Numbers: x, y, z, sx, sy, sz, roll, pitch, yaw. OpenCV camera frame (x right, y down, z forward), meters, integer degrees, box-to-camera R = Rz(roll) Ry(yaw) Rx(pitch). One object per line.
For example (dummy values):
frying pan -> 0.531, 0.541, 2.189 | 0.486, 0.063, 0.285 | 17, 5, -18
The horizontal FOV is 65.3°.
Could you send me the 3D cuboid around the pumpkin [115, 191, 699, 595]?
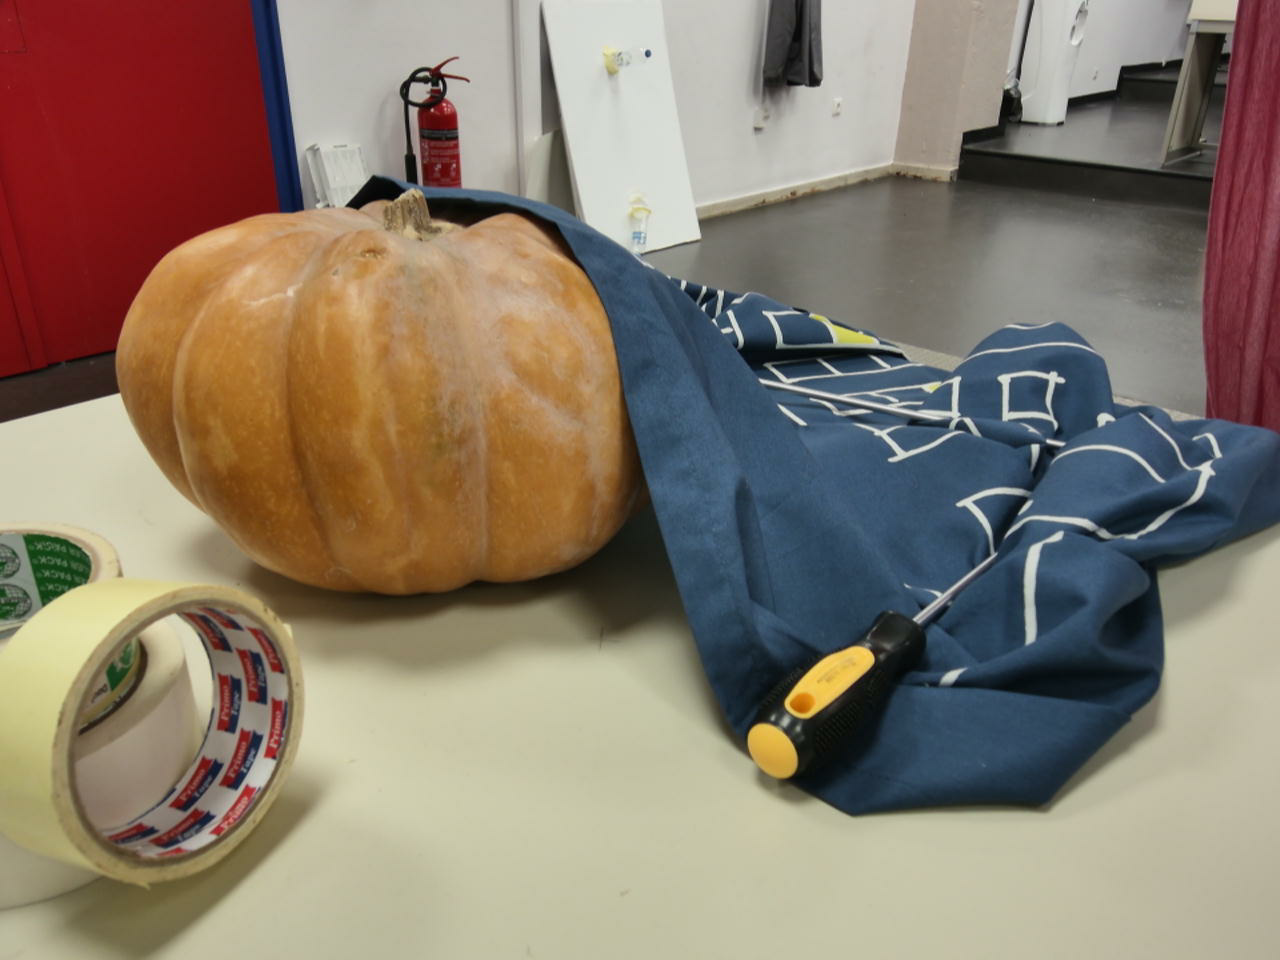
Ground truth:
pumpkin -> -0.108, -0.050, 0.501 | 0.277, 0.181, 0.277 | 0, 25, 0
